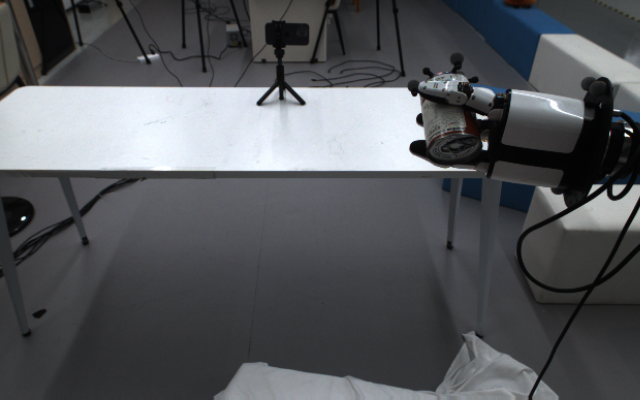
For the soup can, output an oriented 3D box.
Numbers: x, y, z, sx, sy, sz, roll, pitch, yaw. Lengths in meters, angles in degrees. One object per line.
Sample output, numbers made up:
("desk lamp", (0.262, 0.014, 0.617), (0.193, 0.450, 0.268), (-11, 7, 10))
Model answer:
("soup can", (0.167, -0.106, 0.626), (0.067, 0.067, 0.101), (1, 62, -2))
